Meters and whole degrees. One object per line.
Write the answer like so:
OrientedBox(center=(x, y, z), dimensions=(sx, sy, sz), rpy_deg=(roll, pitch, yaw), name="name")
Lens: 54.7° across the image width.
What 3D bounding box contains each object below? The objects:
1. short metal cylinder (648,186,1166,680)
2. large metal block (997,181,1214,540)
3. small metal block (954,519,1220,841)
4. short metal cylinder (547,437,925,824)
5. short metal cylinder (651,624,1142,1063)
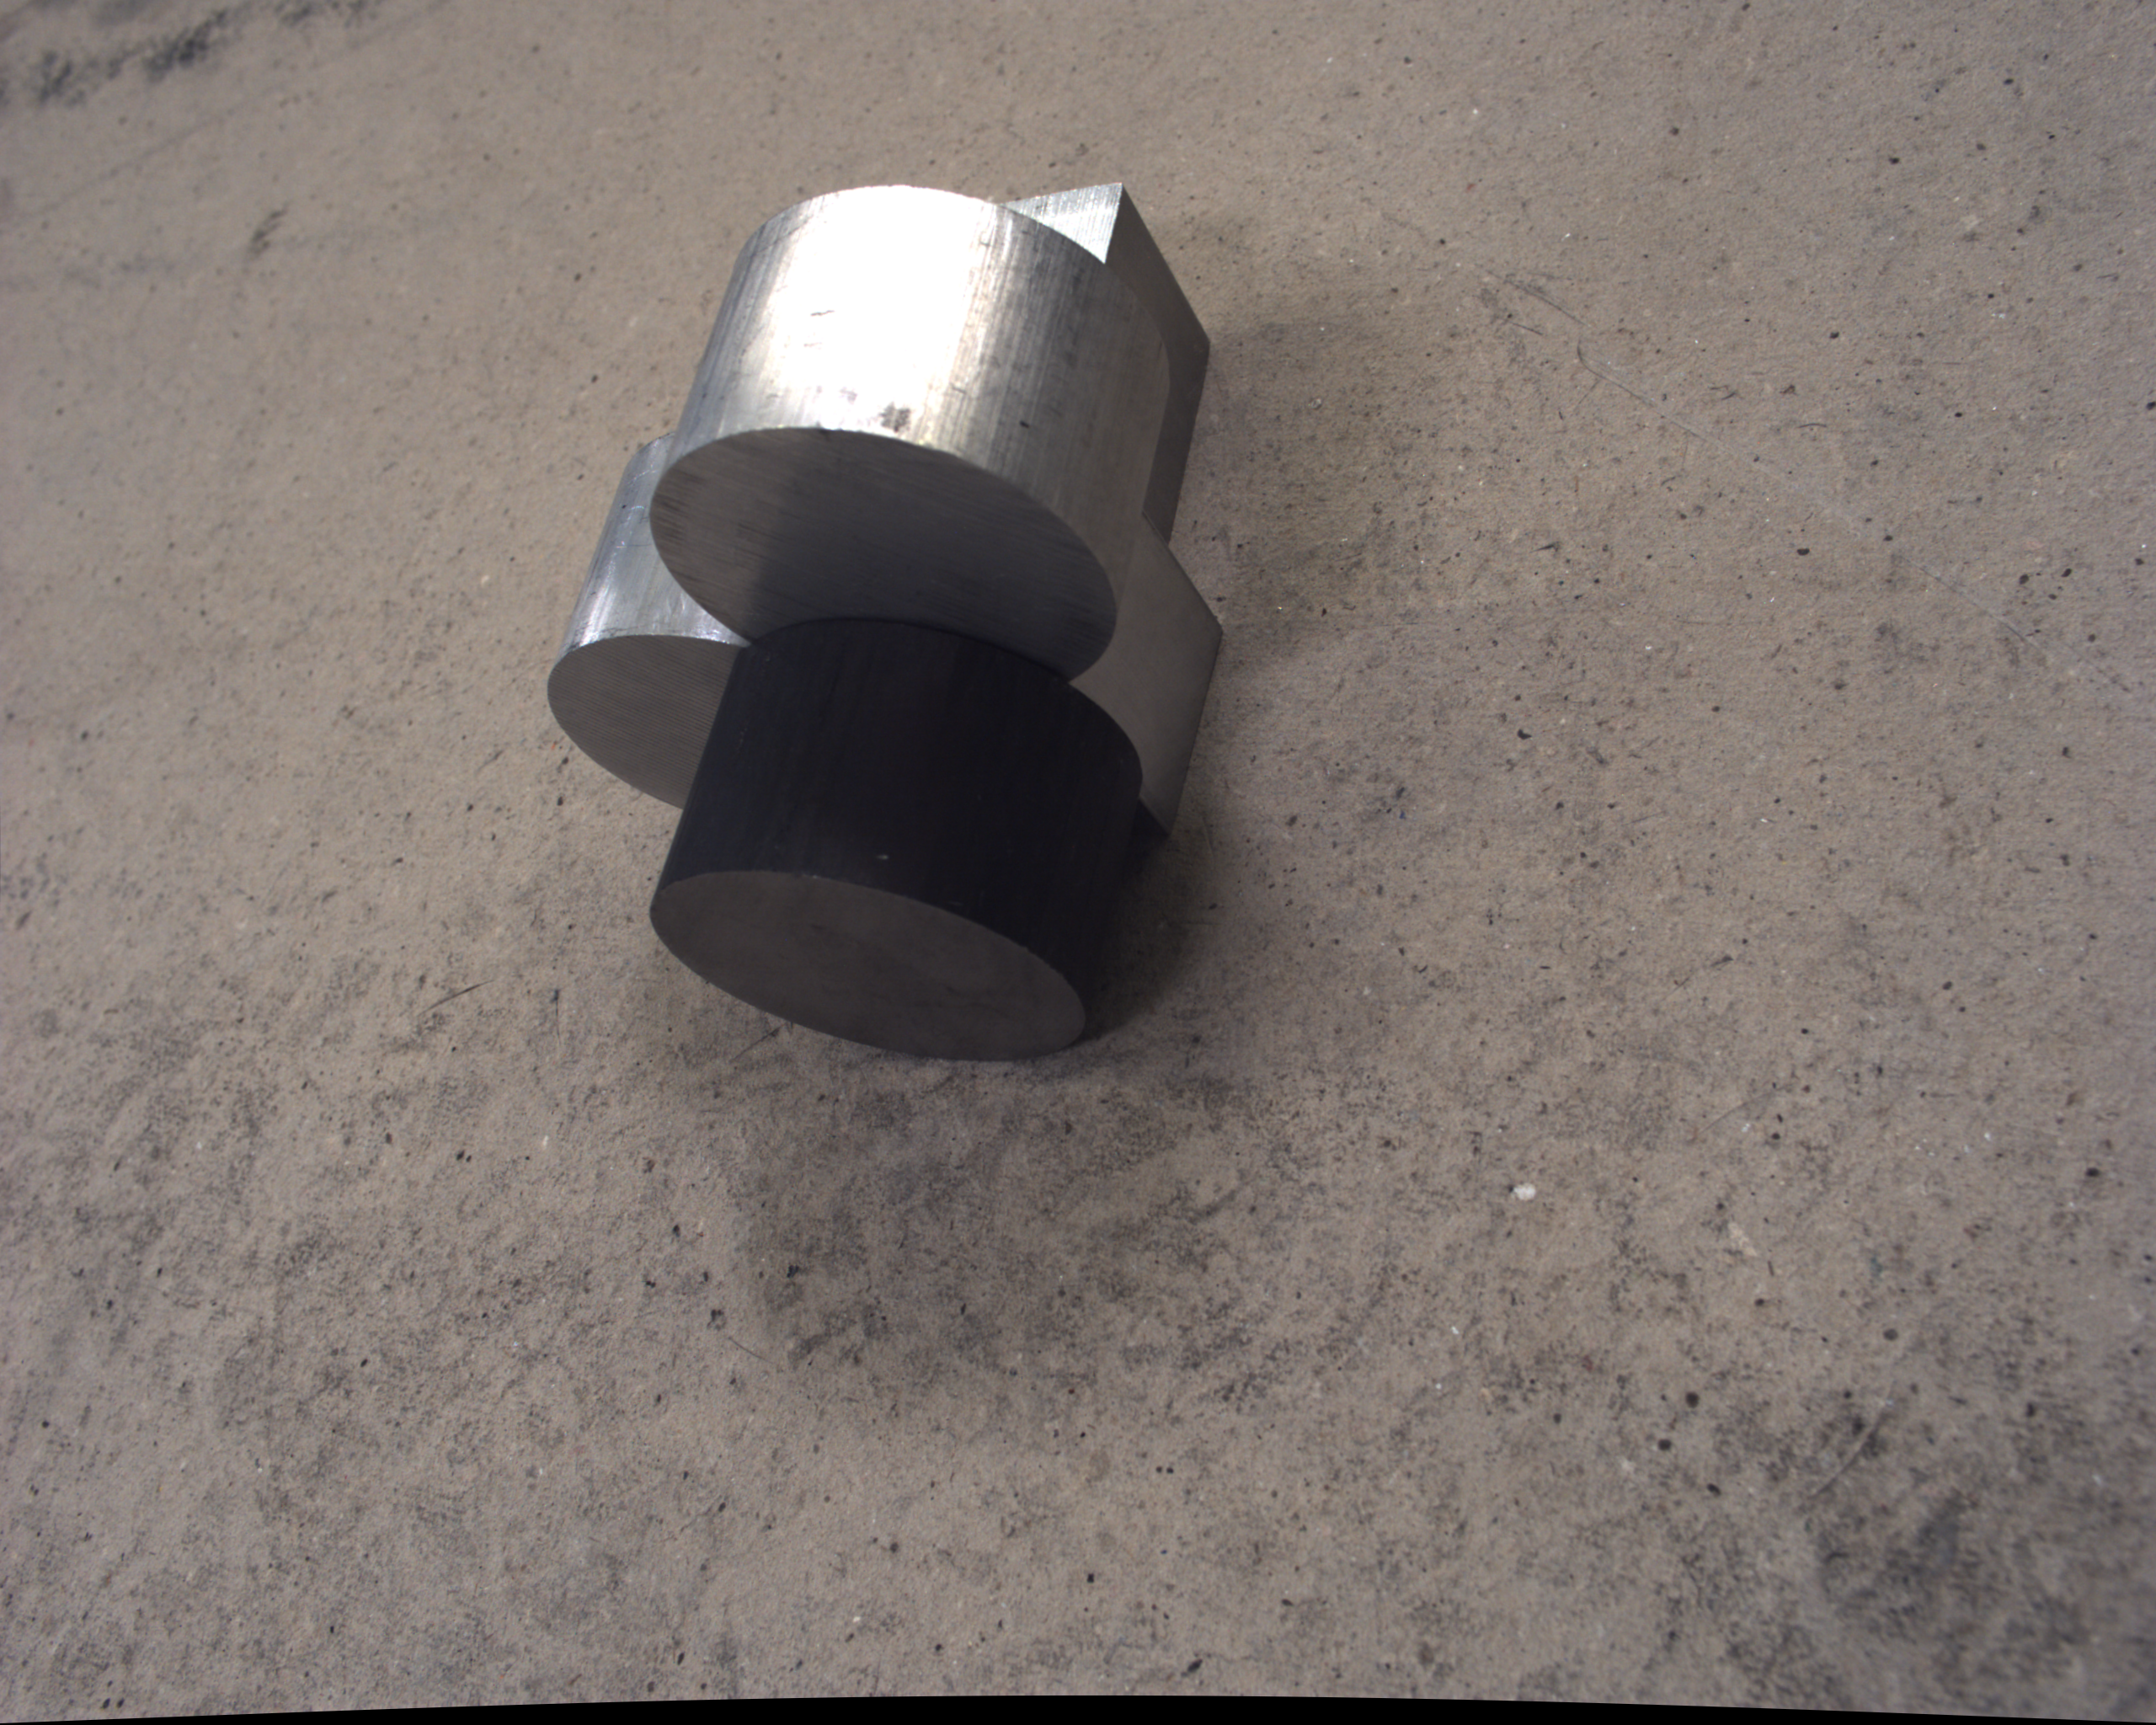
OrientedBox(center=(-0.029, -0.070, 0.364), dimensions=(0.080, 0.080, 0.050), rpy_deg=(-2, 61, 27), name="short metal cylinder")
OrientedBox(center=(-0.023, -0.096, 0.461), dimensions=(0.080, 0.050, 0.080), rpy_deg=(-2, 61, 27), name="large metal block")
OrientedBox(center=(0.002, -0.038, 0.414), dimensions=(0.025, 0.050, 0.050), rpy_deg=(1, 62, 29), name="small metal block")
OrientedBox(center=(-0.062, -0.045, 0.431), dimensions=(0.080, 0.080, 0.050), rpy_deg=(-2, 61, 27), name="short metal cylinder")
OrientedBox(center=(-0.033, -0.001, 0.389), dimensions=(0.080, 0.080, 0.050), rpy_deg=(0, 62, 28), name="short metal cylinder")
